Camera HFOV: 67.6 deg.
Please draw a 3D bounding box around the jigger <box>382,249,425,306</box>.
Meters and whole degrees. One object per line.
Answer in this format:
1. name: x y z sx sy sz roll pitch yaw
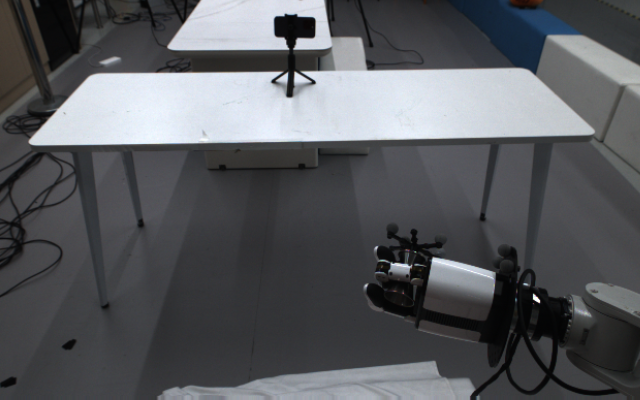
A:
1. jigger: 0.122 0.107 0.673 0.043 0.043 0.071 13 57 15
